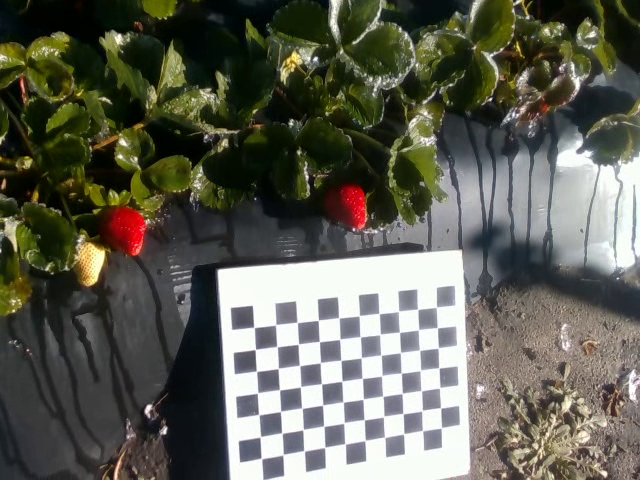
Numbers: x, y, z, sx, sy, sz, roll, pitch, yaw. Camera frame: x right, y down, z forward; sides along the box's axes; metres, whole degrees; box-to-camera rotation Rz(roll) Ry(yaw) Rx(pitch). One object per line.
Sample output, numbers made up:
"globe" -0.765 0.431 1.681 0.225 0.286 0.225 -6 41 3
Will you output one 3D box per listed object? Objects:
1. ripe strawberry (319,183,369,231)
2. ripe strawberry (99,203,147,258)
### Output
"ripe strawberry" 0.033 -0.034 0.624 0.048 0.061 0.044 -12 -26 -16
"ripe strawberry" -0.185 -0.002 0.564 0.042 0.061 0.046 -20 -33 -15
